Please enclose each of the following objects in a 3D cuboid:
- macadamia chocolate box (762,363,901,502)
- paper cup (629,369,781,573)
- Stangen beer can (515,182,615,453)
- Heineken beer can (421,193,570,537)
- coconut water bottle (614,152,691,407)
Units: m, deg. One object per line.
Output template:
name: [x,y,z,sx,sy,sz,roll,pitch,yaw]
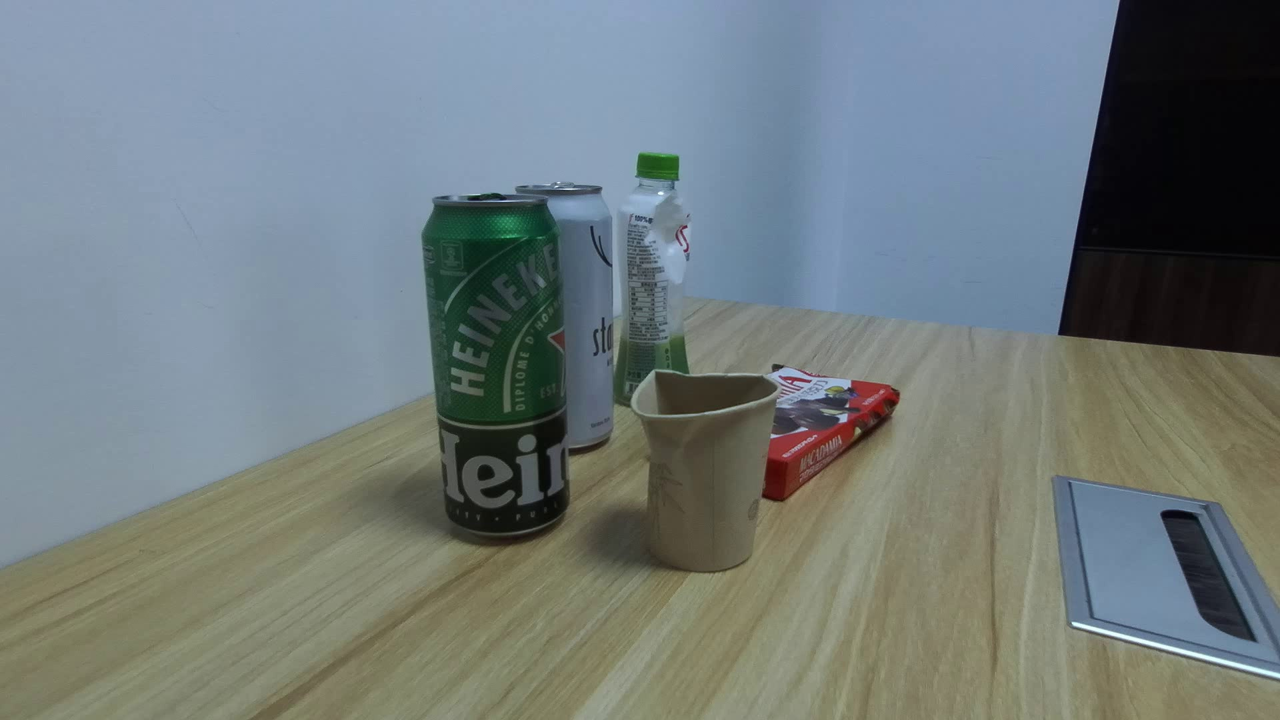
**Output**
macadamia chocolate box: [0.101,0.042,0.491,0.105,0.028,0.184,12,20,35]
paper cup: [0.032,0.053,0.340,0.071,0.084,0.066,1,16,6]
Stangen beer can: [-0.050,-0.026,0.466,0.067,0.171,0.067,0,13,0]
Heineken beer can: [-0.071,0.005,0.360,0.067,0.169,0.067,0,16,0]
coconut water bottle: [0.011,-0.061,0.540,0.069,0.187,0.069,1,13,0]
